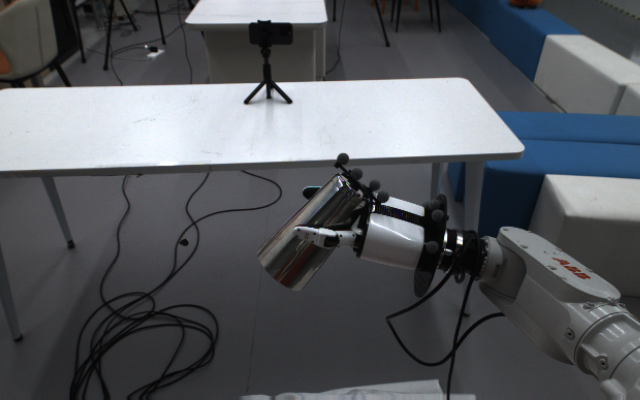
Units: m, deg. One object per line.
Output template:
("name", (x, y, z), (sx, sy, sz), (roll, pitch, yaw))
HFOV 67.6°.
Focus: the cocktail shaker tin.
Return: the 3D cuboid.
("cocktail shaker tin", (-0.005, 0.039, 0.726), (0.093, 0.170, 0.093), (41, 13, -11))
